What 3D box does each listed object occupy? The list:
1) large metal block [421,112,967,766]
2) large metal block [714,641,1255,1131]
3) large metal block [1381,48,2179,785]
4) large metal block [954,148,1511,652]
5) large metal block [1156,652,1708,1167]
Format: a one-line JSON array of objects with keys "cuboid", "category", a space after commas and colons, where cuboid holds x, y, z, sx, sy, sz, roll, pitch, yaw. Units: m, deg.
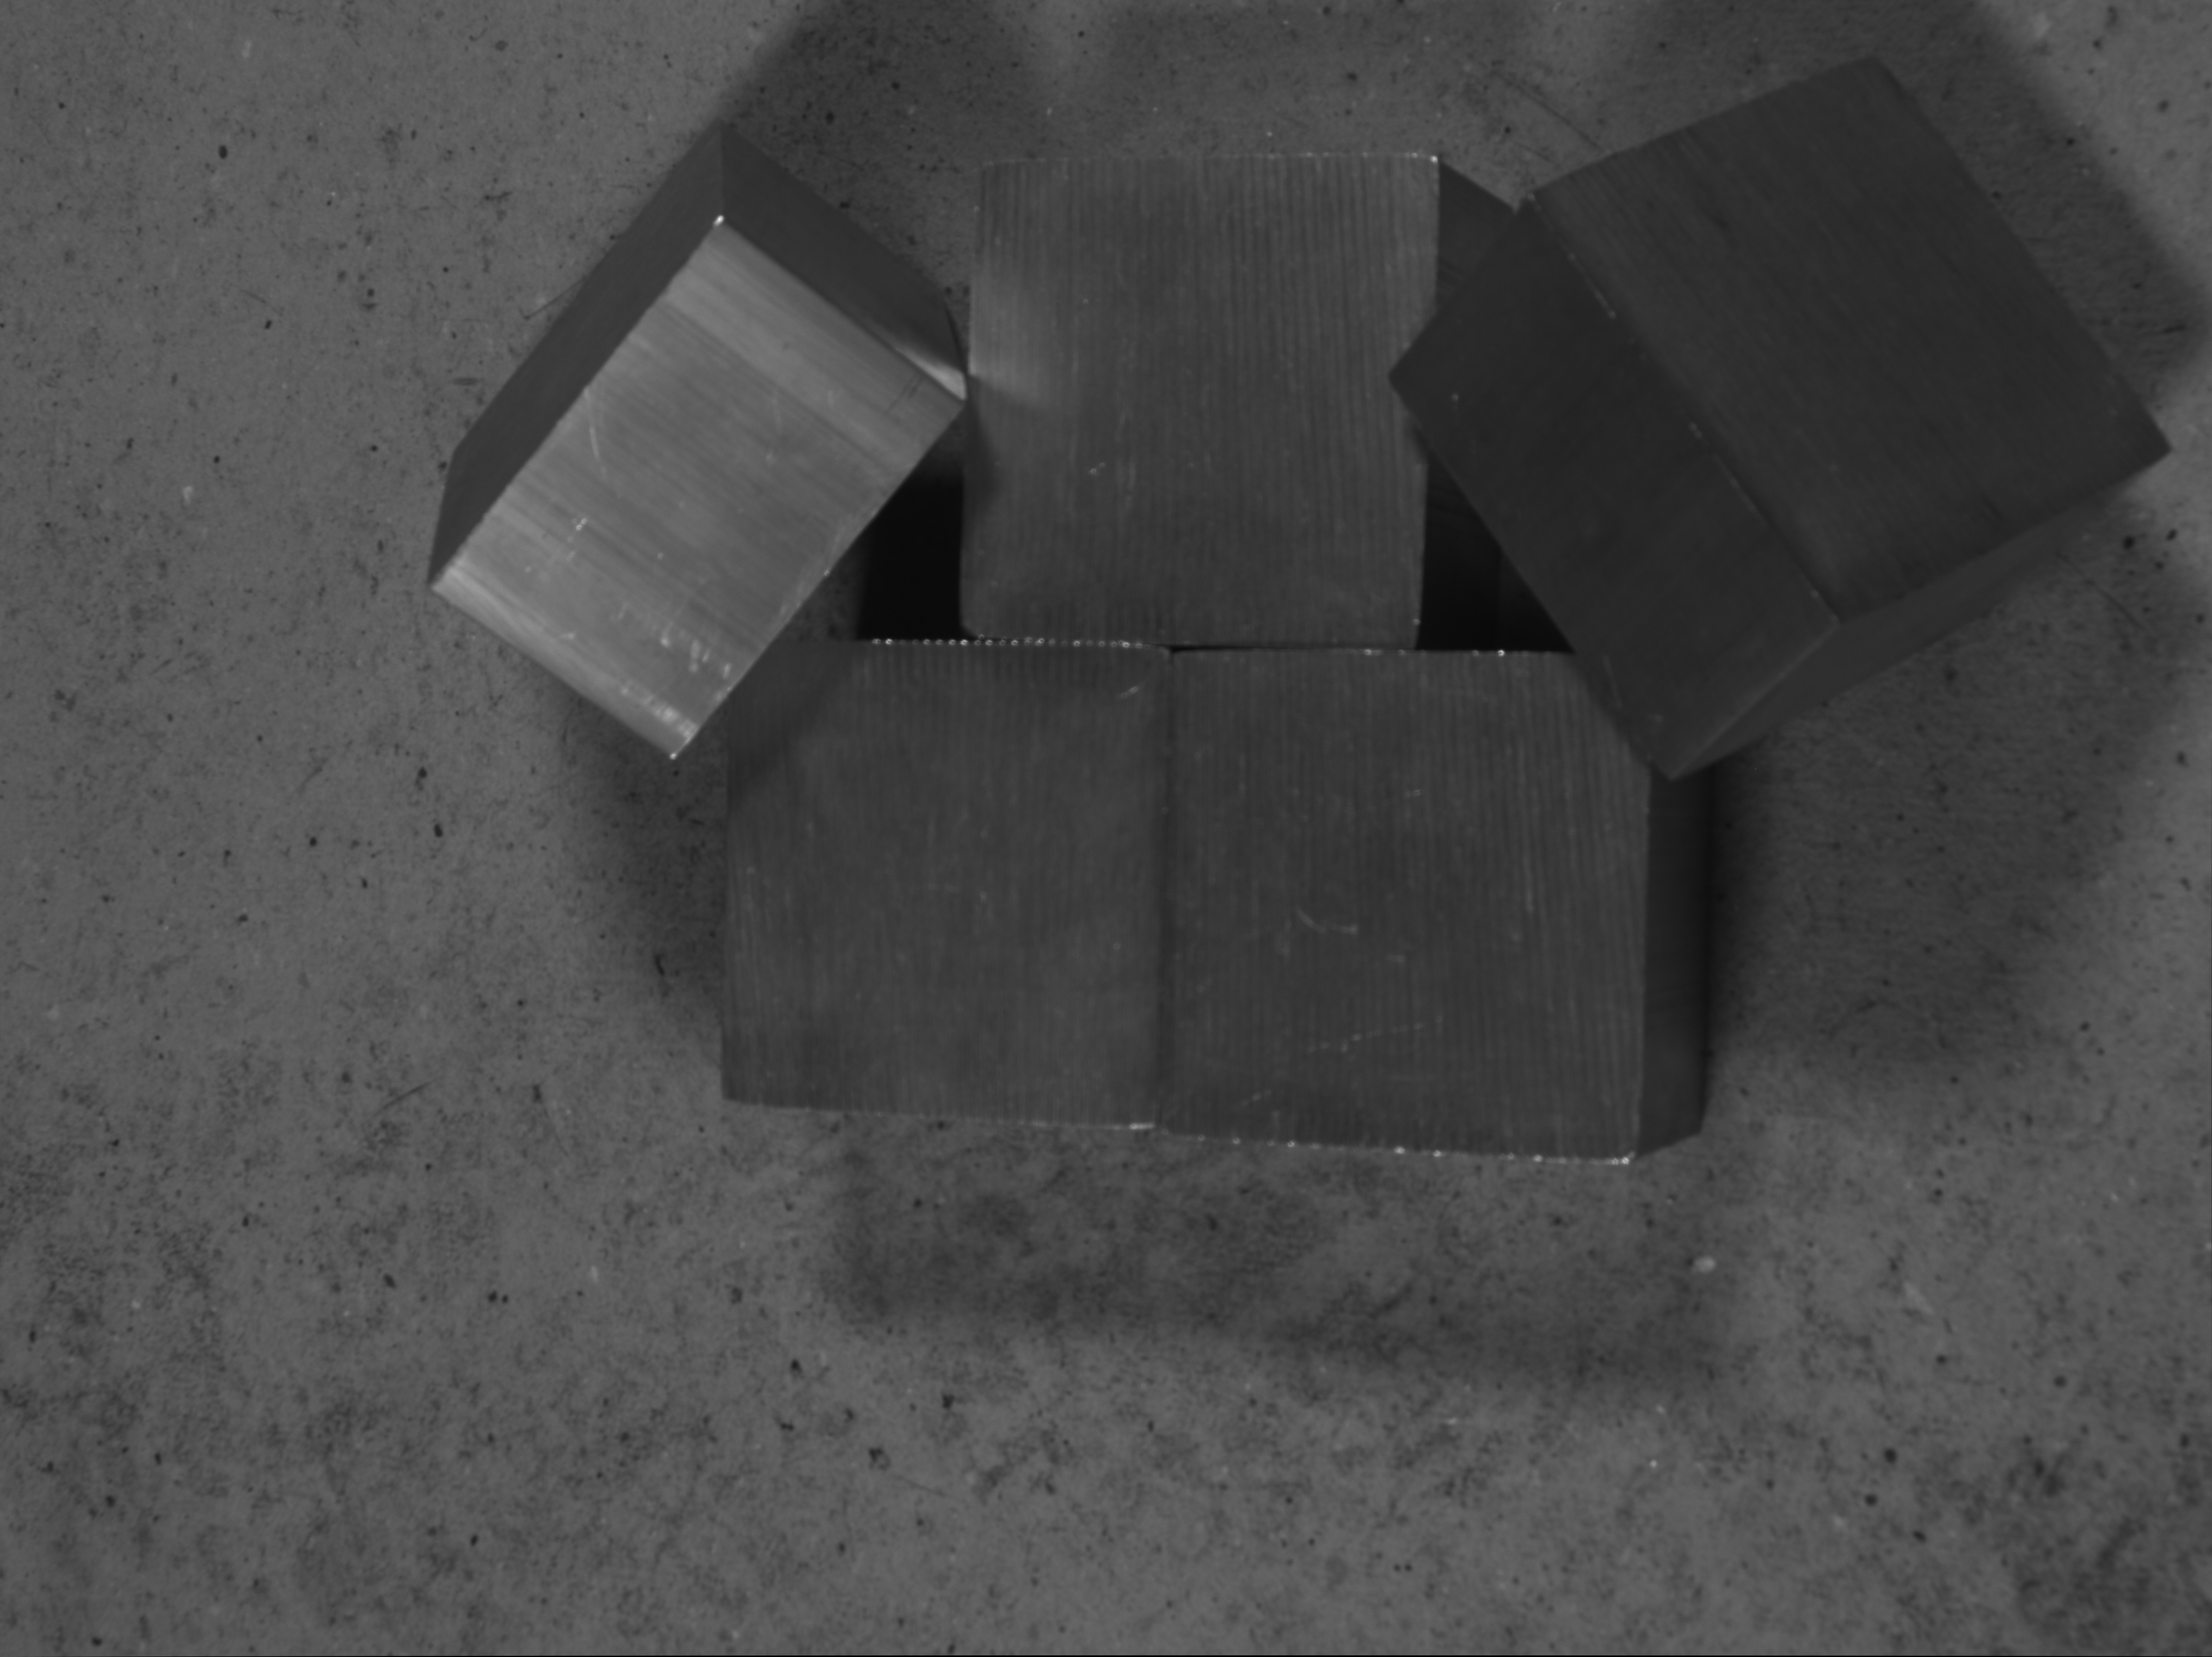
[{"cuboid": [-0.072, -0.069, 0.634, 0.050, 0.080, 0.080, 36, 104, -19], "category": "large metal block"}, {"cuboid": [-0.020, 0.009, 0.638, 0.080, 0.050, 0.080, 1, 90, 20], "category": "large metal block"}, {"cuboid": [0.104, -0.065, 0.572, 0.080, 0.080, 0.050, 57, 147, 11], "category": "large metal block"}, {"cuboid": [0.022, -0.071, 0.624, 0.080, 0.050, 0.080, 3, 91, 20], "category": "large metal block"}, {"cuboid": [0.055, 0.012, 0.609, 0.080, 0.050, 0.080, 1, 90, 20], "category": "large metal block"}]
